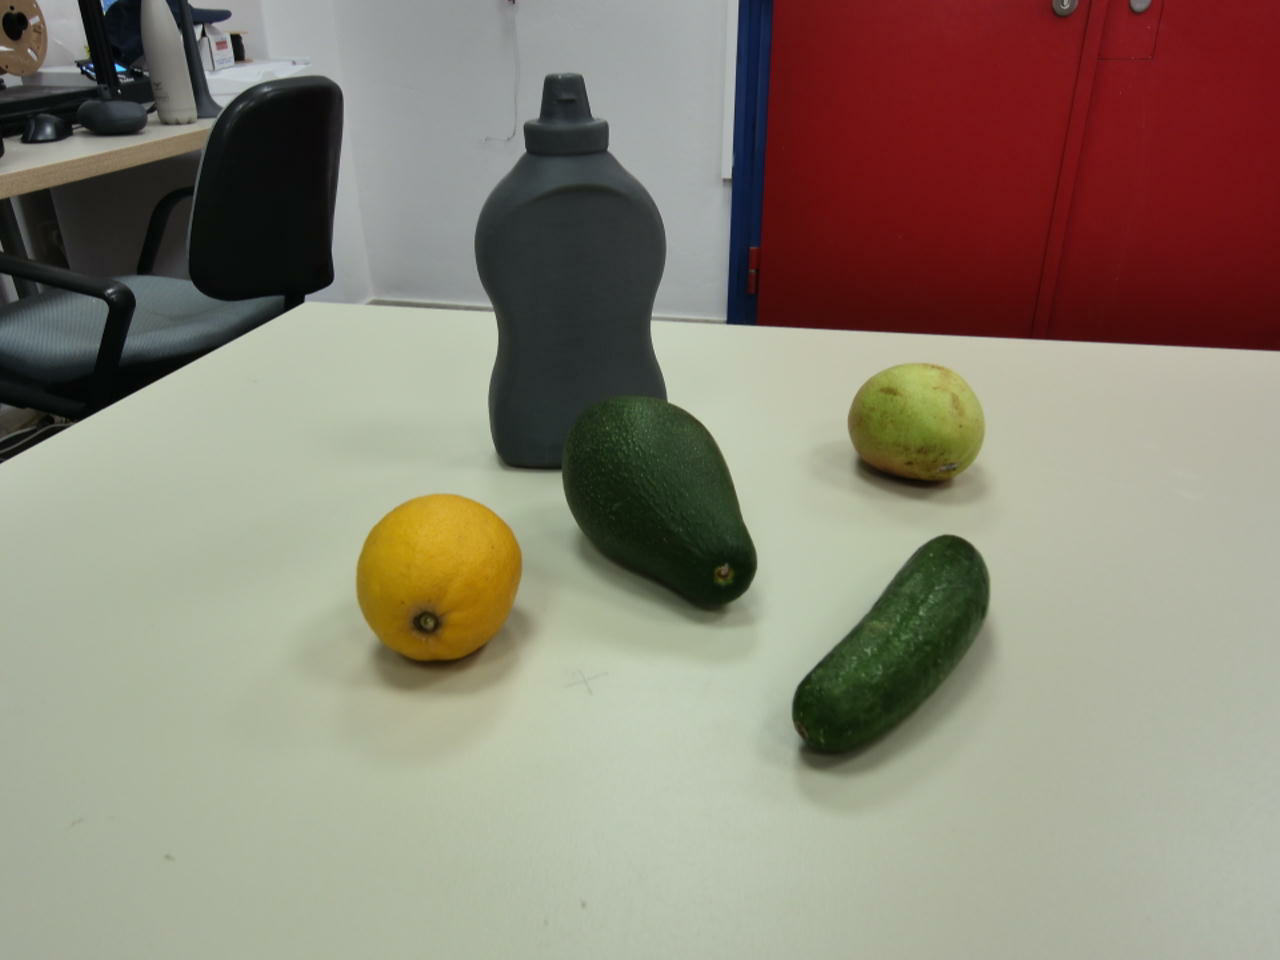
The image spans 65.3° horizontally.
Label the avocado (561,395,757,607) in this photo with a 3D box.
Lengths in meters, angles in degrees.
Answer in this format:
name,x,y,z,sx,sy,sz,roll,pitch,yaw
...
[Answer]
name,x,y,z,sx,sy,sz,roll,pitch,yaw
avocado,0.004,0.005,0.423,0.072,0.071,0.109,-5,24,-9
